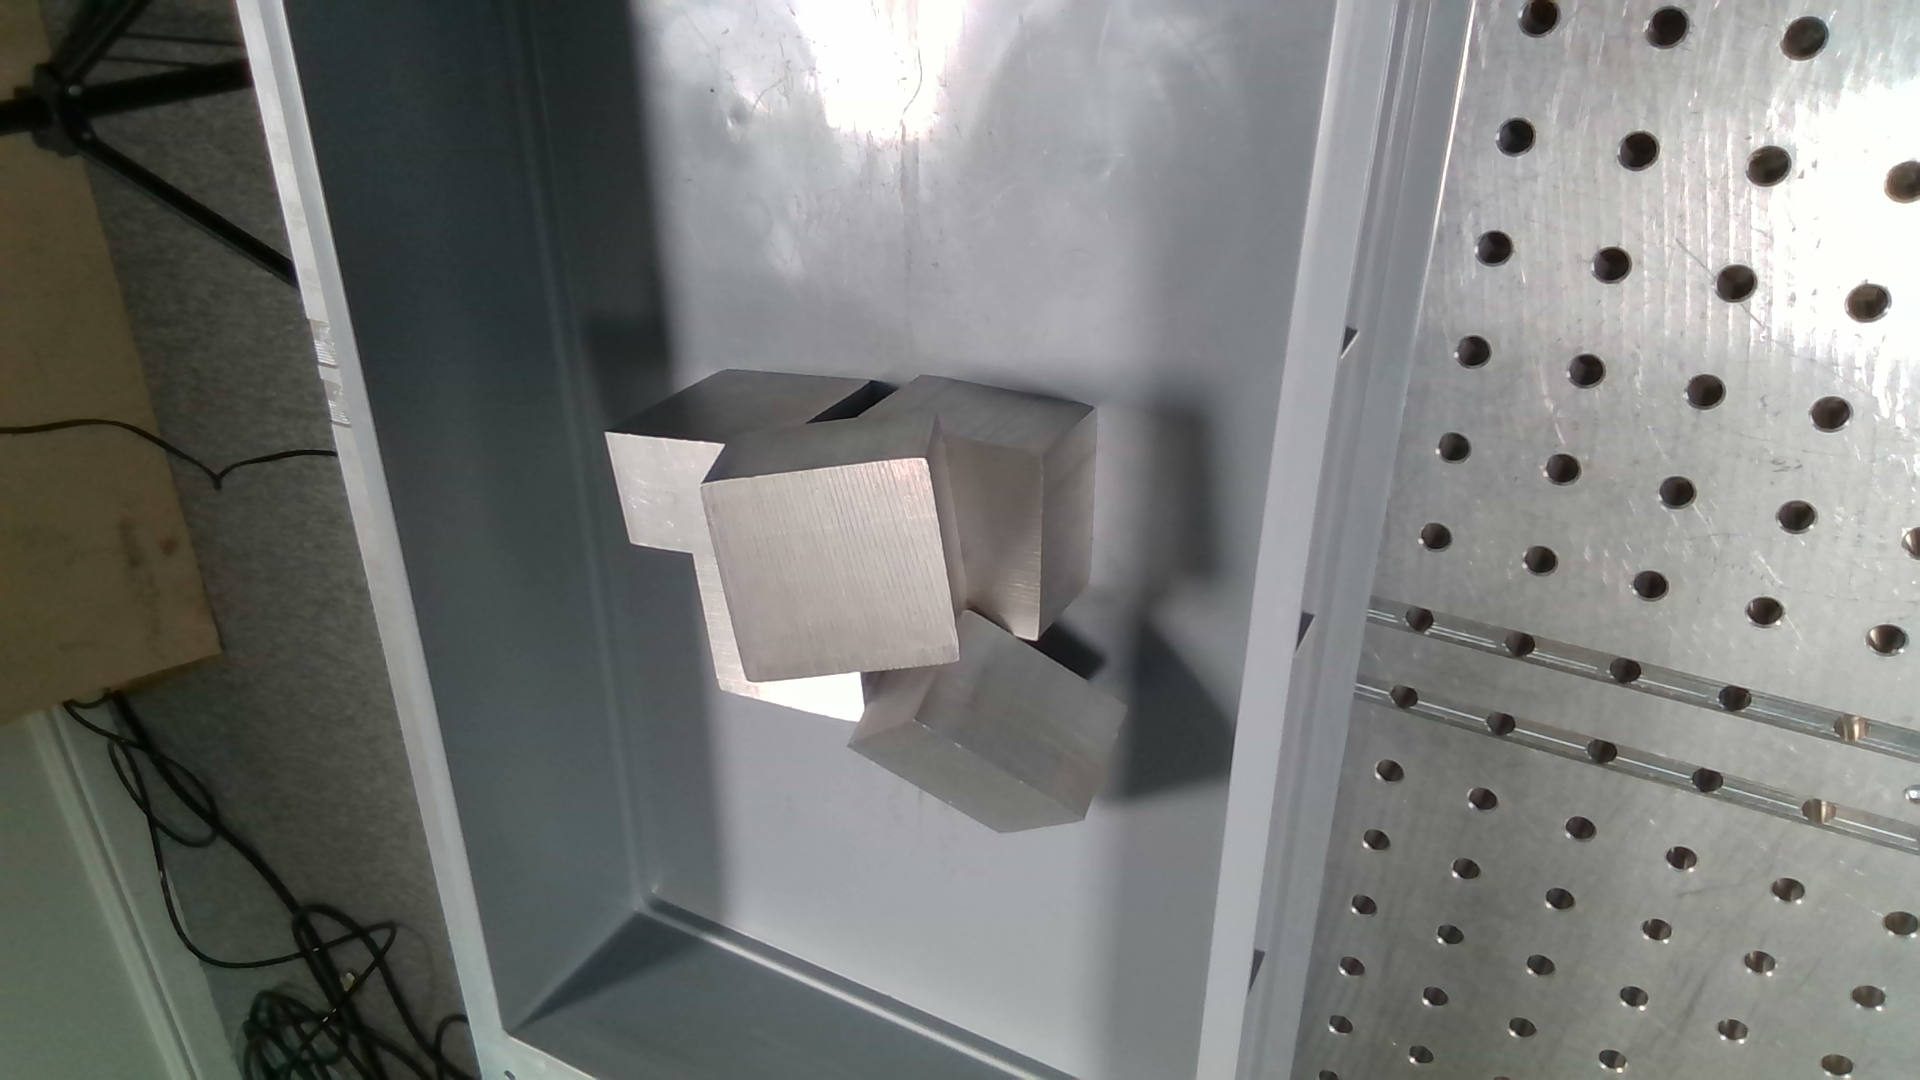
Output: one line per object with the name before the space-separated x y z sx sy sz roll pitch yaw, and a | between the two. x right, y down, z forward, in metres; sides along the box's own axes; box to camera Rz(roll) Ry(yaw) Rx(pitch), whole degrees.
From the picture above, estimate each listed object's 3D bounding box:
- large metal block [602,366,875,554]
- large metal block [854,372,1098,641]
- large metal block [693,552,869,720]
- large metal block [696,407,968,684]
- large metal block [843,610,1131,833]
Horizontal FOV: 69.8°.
large metal block | -0.088 -0.034 0.578 0.080 0.080 0.050 8 119 28
large metal block | 0.007 -0.015 0.550 0.080 0.050 0.080 13 121 25
large metal block | -0.067 0.027 0.616 0.080 0.050 0.080 9 119 28
large metal block | -0.044 0.002 0.506 0.080 0.050 0.080 -6 114 7
large metal block | 0.009 0.076 0.566 0.080 0.050 0.080 32 155 -13
